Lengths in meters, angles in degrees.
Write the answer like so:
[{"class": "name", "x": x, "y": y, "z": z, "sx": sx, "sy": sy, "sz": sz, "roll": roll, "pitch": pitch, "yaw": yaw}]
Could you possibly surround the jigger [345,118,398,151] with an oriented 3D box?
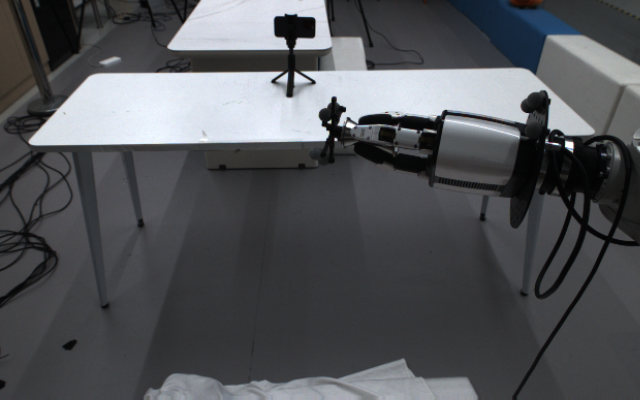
[{"class": "jigger", "x": 0.070, "y": -0.083, "z": 0.607, "sx": 0.071, "sy": 0.043, "sz": 0.043, "roll": 10, "pitch": 35, "yaw": 16}]
